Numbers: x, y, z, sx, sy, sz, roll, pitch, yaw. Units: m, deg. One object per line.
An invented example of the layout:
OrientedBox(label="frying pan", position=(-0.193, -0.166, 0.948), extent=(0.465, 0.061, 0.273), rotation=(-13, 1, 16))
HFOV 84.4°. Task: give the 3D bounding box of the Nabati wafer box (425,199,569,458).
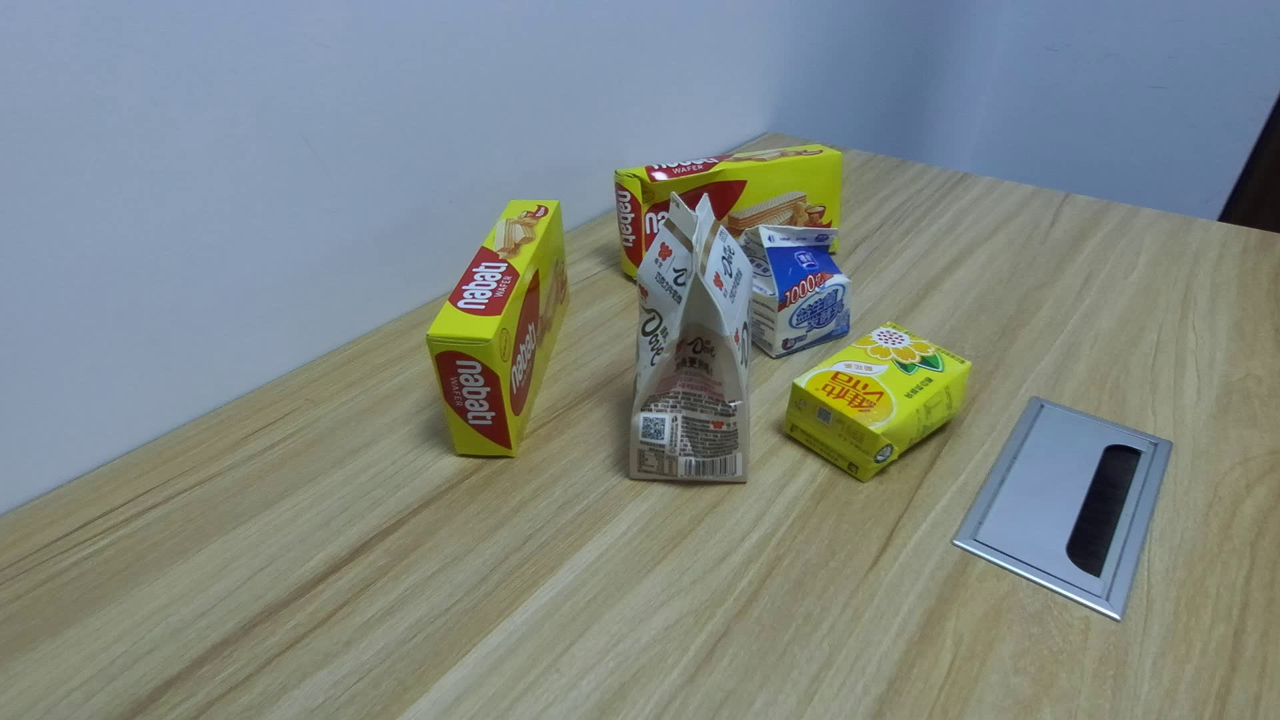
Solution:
OrientedBox(label="Nabati wafer box", position=(-0.089, -0.033, 0.502), extent=(0.042, 0.093, 0.202), rotation=(2, 35, 6))

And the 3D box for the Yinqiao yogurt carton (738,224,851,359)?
OrientedBox(label="Yinqiao yogurt carton", position=(0.111, -0.064, 0.532), extent=(0.083, 0.093, 0.077), rotation=(-17, 38, -21))

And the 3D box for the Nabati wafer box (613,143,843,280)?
OrientedBox(label="Nabati wafer box", position=(0.081, -0.132, 0.633), extent=(0.204, 0.096, 0.042), rotation=(-10, 26, -14))

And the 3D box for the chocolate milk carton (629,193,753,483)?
OrientedBox(label="chocolate milk carton", position=(0.030, -0.009, 0.406), extent=(0.073, 0.155, 0.084), rotation=(2, 33, 5))

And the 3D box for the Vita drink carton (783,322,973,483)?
OrientedBox(label="Vita drink carton", position=(0.154, 0.025, 0.449), extent=(0.109, 0.043, 0.076), rotation=(-26, 45, -34))
